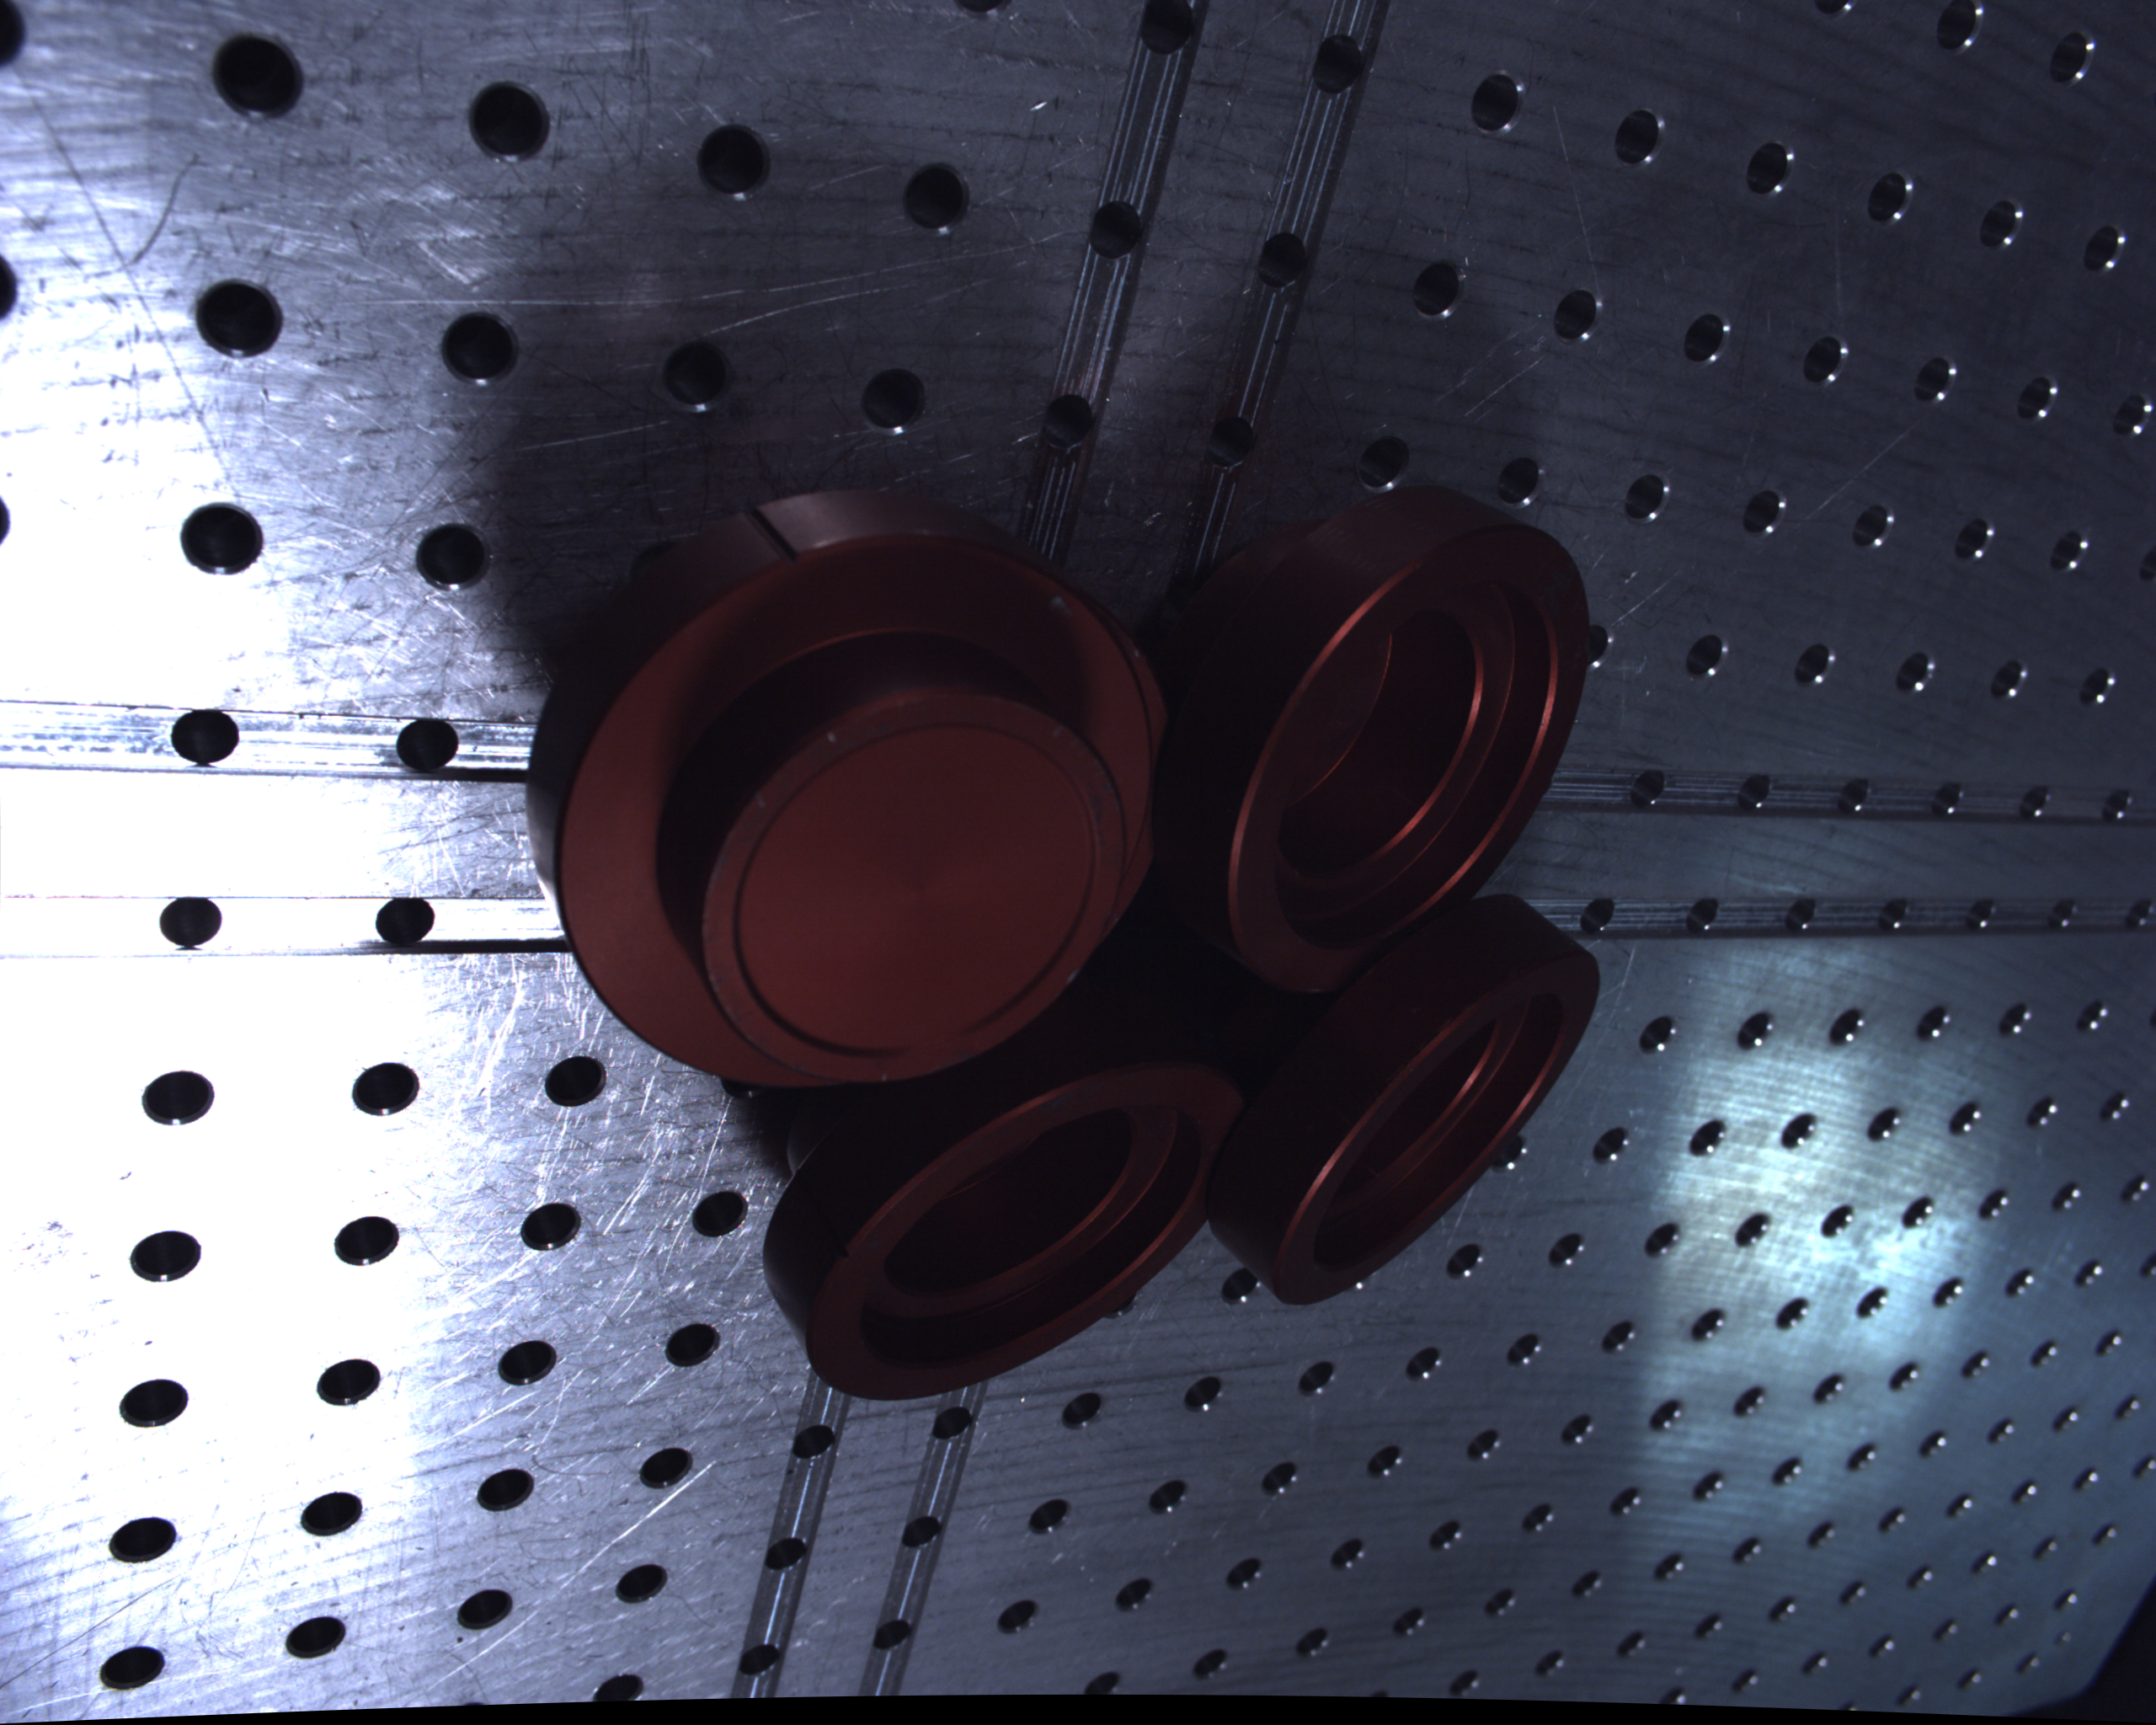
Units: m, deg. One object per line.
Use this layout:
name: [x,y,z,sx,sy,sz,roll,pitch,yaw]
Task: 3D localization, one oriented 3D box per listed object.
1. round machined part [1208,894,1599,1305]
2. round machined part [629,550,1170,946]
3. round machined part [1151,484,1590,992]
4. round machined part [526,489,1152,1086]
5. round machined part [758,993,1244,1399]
round machined part: [0.063,0.045,0.449,0.099,0.042,0.097,-35,150,-24]
round machined part: [-0.036,-0.016,0.371,0.099,0.042,0.097,-14,125,-21]
round machined part: [0.050,-0.027,0.401,0.099,0.042,0.097,-28,136,-30]
round machined part: [-0.032,-0.005,0.326,0.099,0.042,0.097,-14,125,-21]
round machined part: [-0.019,0.060,0.417,0.099,0.042,0.097,-24,144,-18]
